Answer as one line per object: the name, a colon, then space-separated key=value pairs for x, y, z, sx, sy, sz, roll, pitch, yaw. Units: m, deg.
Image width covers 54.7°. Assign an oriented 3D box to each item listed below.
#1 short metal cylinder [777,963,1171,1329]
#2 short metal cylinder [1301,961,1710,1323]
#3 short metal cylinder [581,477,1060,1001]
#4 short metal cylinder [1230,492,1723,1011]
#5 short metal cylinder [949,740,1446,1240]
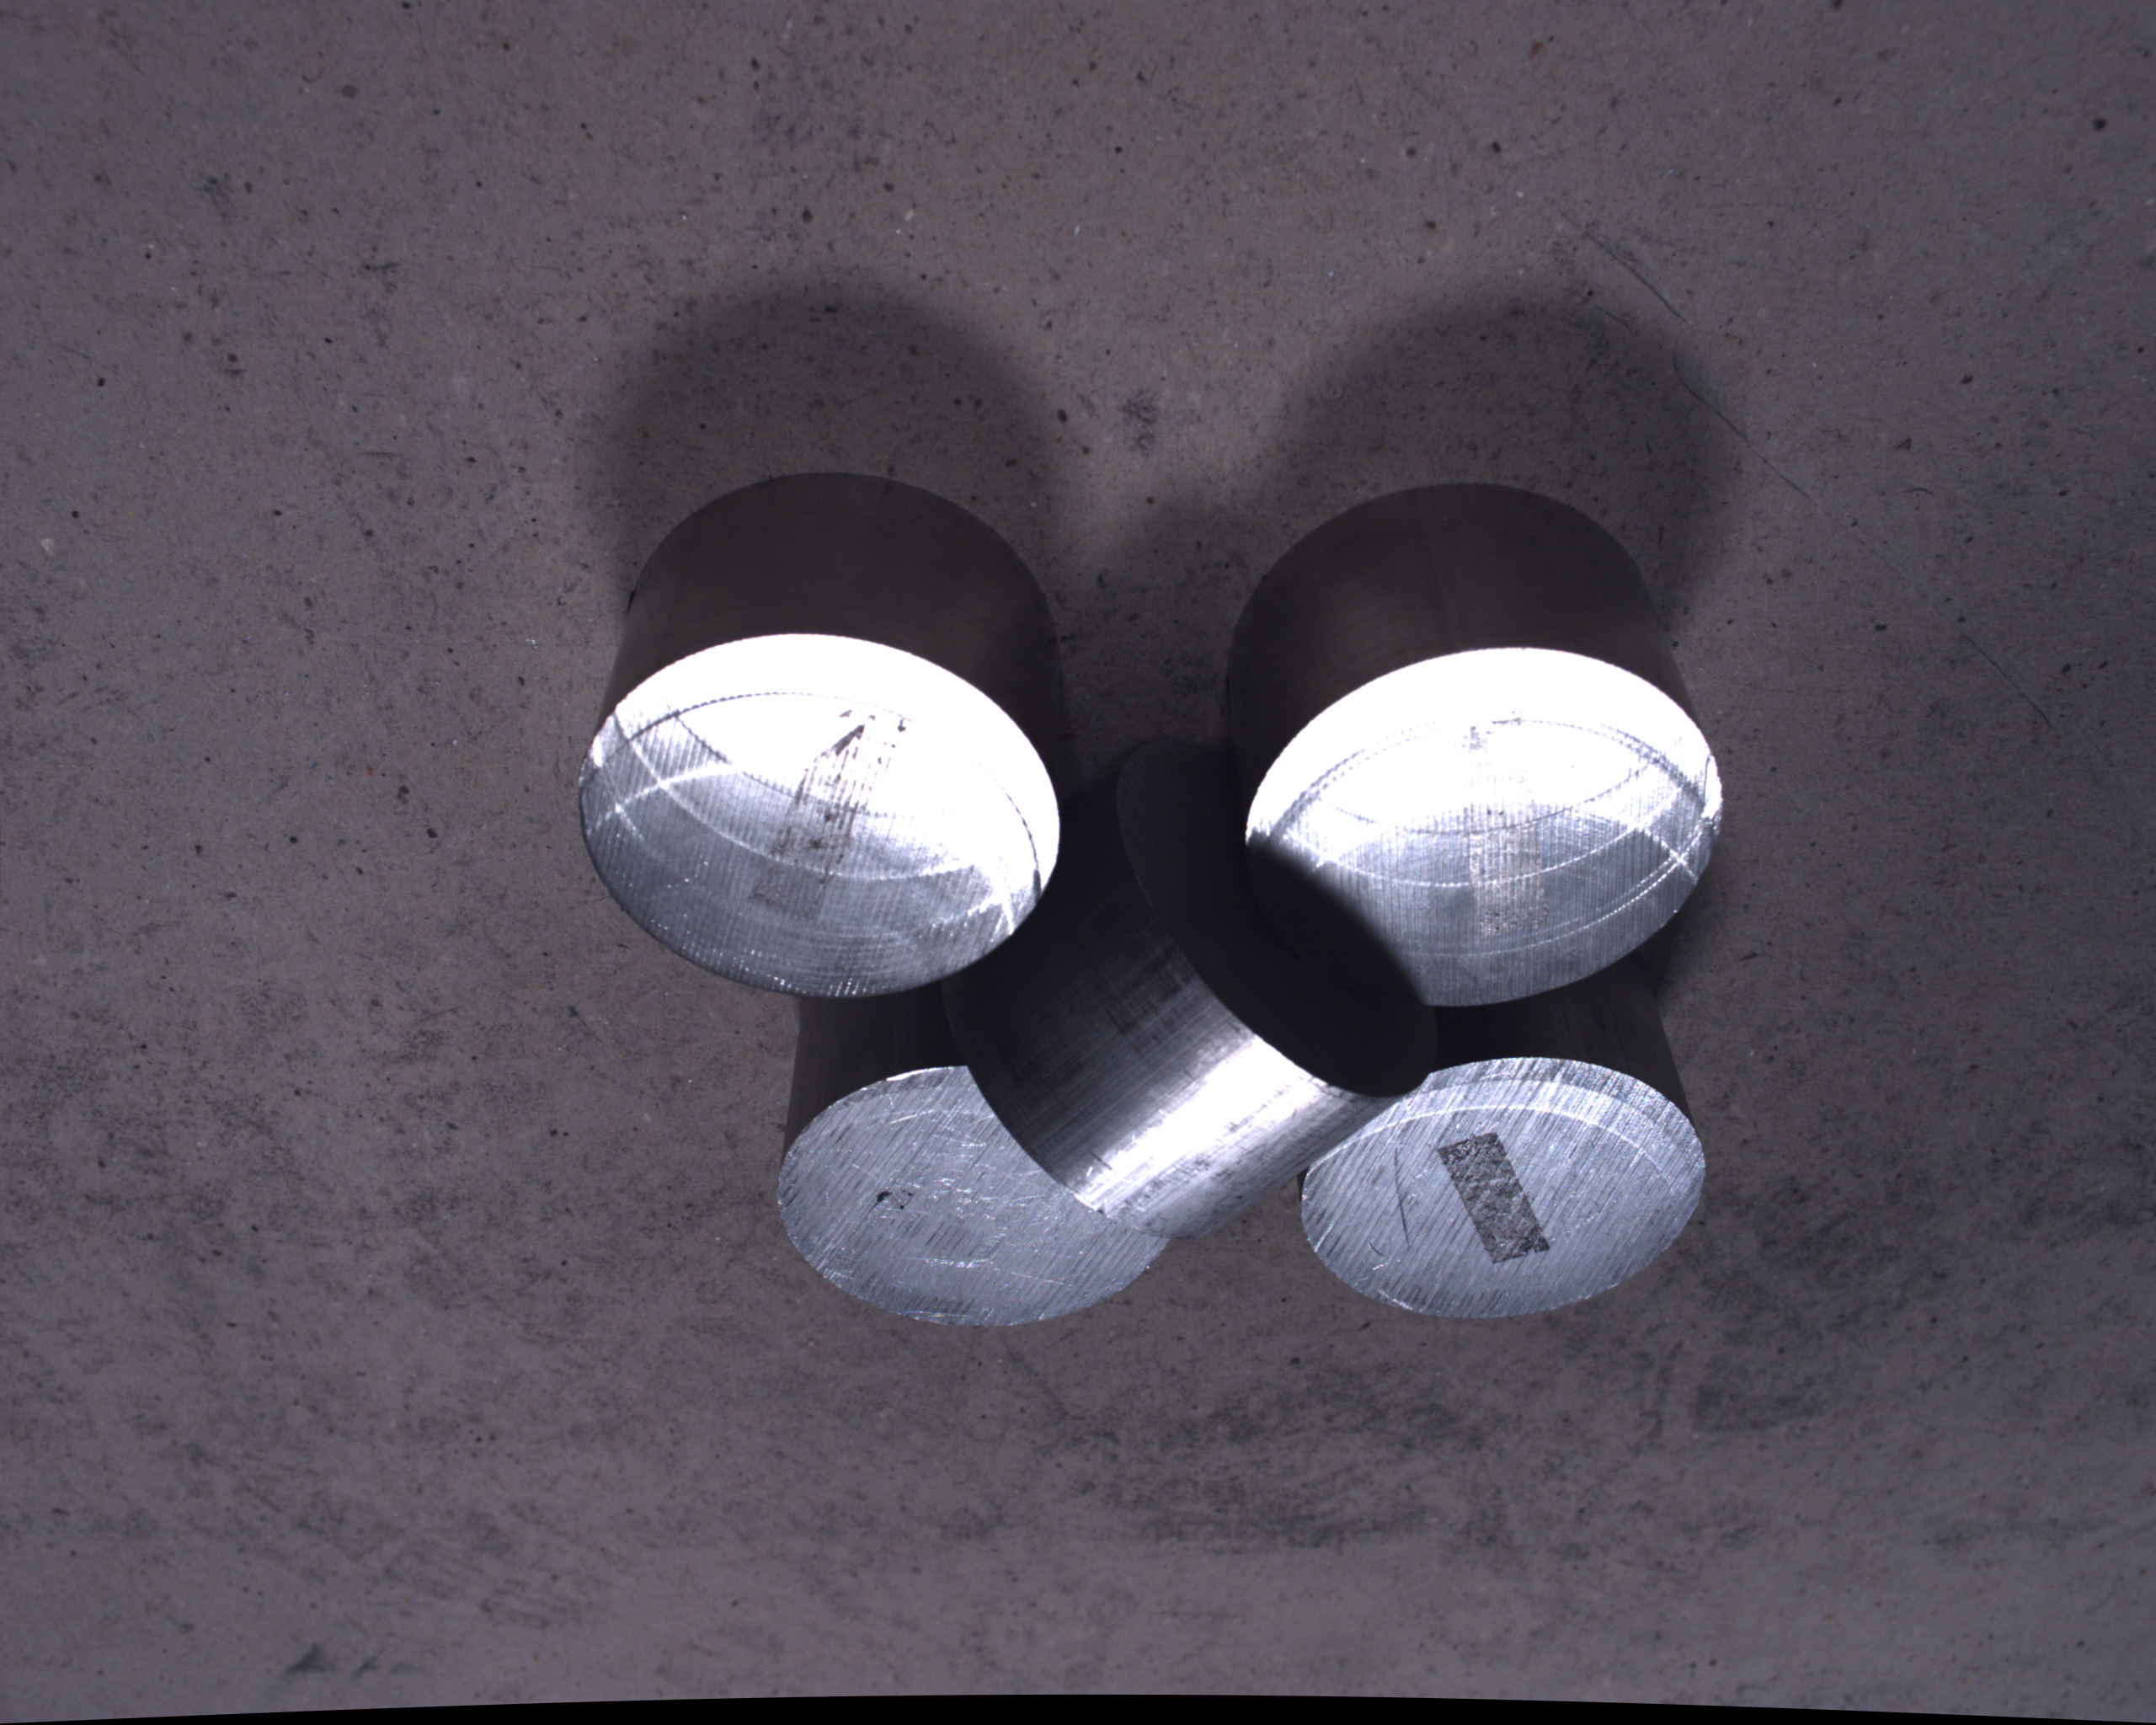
short metal cylinder: x=-0.020 y=0.053 z=0.435 sx=0.081 sy=0.050 sz=0.079 roll=0 pitch=130 yaw=0
short metal cylinder: x=0.085 y=0.051 z=0.436 sx=0.081 sy=0.050 sz=0.079 roll=0 pitch=130 yaw=0
short metal cylinder: x=-0.043 y=-0.021 z=0.372 sx=0.081 sy=0.050 sz=0.079 roll=0 pitch=130 yaw=0
short metal cylinder: x=0.069 y=-0.019 z=0.375 sx=0.081 sy=0.050 sz=0.079 roll=0 pitch=130 yaw=0
short metal cylinder: x=0.023 y=0.024 z=0.393 sx=0.080 sy=0.080 sz=0.050 roll=32 pitch=123 yaw=-25
